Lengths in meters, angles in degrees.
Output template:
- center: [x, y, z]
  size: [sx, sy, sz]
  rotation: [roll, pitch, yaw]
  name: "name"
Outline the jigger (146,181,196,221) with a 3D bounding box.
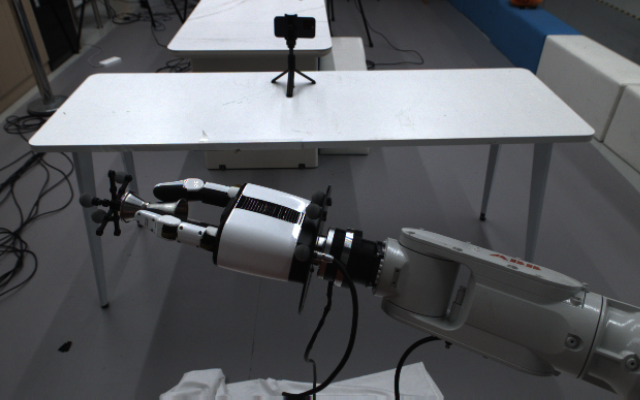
- center: [-0.192, 0.009, 0.588]
  size: [0.071, 0.043, 0.043]
  rotation: [8, 35, 5]
  name: "jigger"
